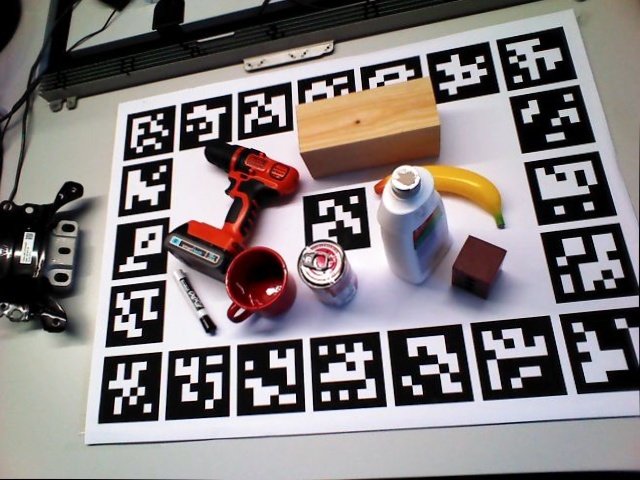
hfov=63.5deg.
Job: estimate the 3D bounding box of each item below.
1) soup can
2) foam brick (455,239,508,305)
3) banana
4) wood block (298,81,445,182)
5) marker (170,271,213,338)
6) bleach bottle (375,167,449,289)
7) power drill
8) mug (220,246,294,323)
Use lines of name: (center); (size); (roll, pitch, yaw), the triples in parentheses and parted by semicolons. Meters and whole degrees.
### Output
soup can: (0.009, 0.047, 0.712); (0.068, 0.102, 0.067); (-5, 64, 11)
foam brick: (0.212, 0.042, 0.683); (0.053, 0.078, 0.051); (26, 75, 24)
banana: (0.166, -0.085, 0.761); (0.198, 0.039, 0.074); (8, 85, 15)
wood block: (0.078, -0.164, 0.790); (0.207, 0.091, 0.089); (-8, 68, 11)
marker: (-0.198, 0.100, 0.800); (0.019, 0.019, 0.121); (-36, 66, 1)
bleach bottle: (0.113, -0.022, 0.636); (0.068, 0.251, 0.102); (22, 75, 22)
power drill: (-0.142, -0.052, 0.827); (0.185, 0.057, 0.186); (22, 75, 18)
mug: (-0.093, 0.070, 0.746); (0.093, 0.081, 0.117); (37, 85, 22)
